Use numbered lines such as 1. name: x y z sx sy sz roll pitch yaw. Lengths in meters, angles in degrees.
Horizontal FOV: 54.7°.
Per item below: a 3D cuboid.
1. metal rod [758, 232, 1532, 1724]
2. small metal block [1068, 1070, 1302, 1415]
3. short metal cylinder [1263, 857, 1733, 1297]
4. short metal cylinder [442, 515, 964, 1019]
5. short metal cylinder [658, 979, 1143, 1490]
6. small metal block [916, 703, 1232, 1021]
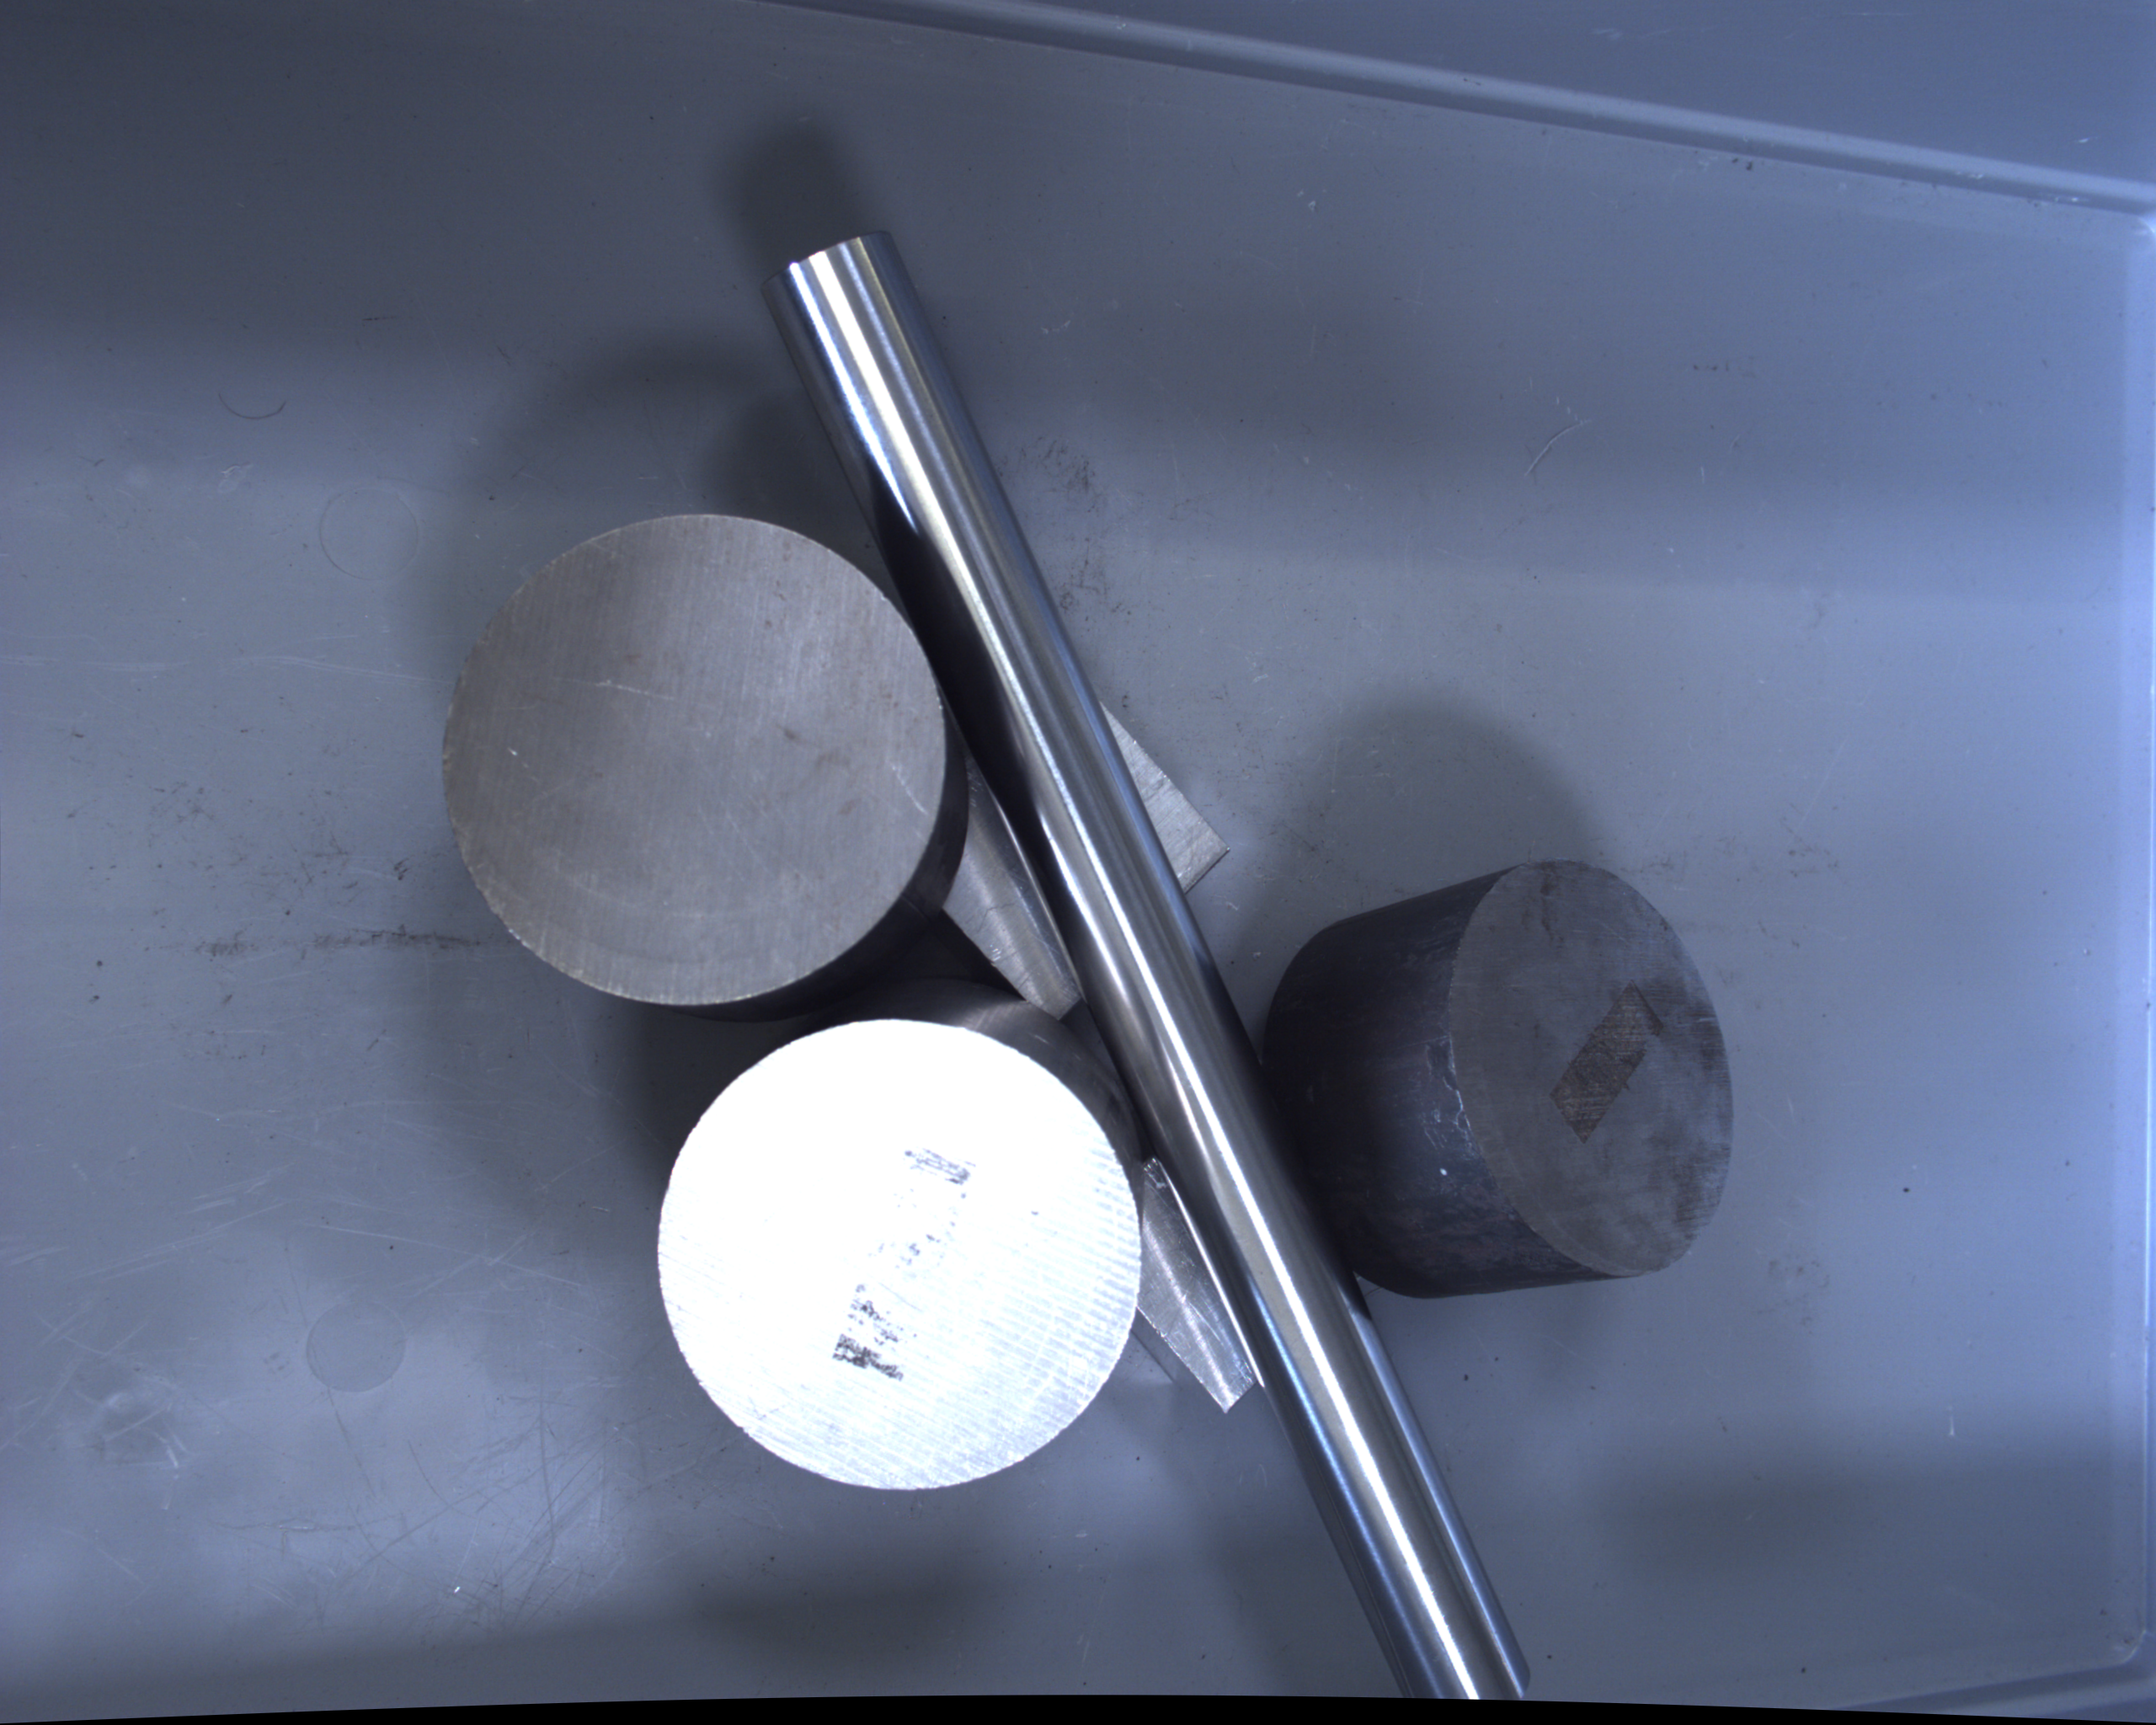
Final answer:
1. metal rod: 0.016 0.029 0.388 0.025 0.025 0.299 -27 99 -18
2. small metal block: 0.028 0.073 0.419 0.050 0.025 0.050 -42 104 -15
3. short metal cylinder: 0.084 0.044 0.413 0.081 0.050 0.080 13 67 -35
4. short metal cylinder: -0.061 -0.014 0.358 0.081 0.050 0.080 0 82 1
5. short metal cylinder: -0.029 0.063 0.371 0.080 0.050 0.079 0 94 2
6. small metal block: -0.008 -0.004 0.406 0.050 0.025 0.050 -45 104 -14
